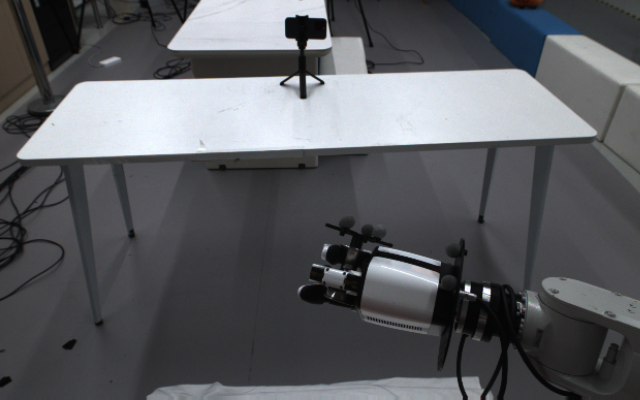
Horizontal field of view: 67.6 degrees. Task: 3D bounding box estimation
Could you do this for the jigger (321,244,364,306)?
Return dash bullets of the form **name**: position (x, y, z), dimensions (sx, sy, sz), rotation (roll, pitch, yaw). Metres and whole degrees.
- **jigger**: position (0.035, 0.092, 0.607), dimensions (0.043, 0.071, 0.043), rotation (19, -6, 2)
